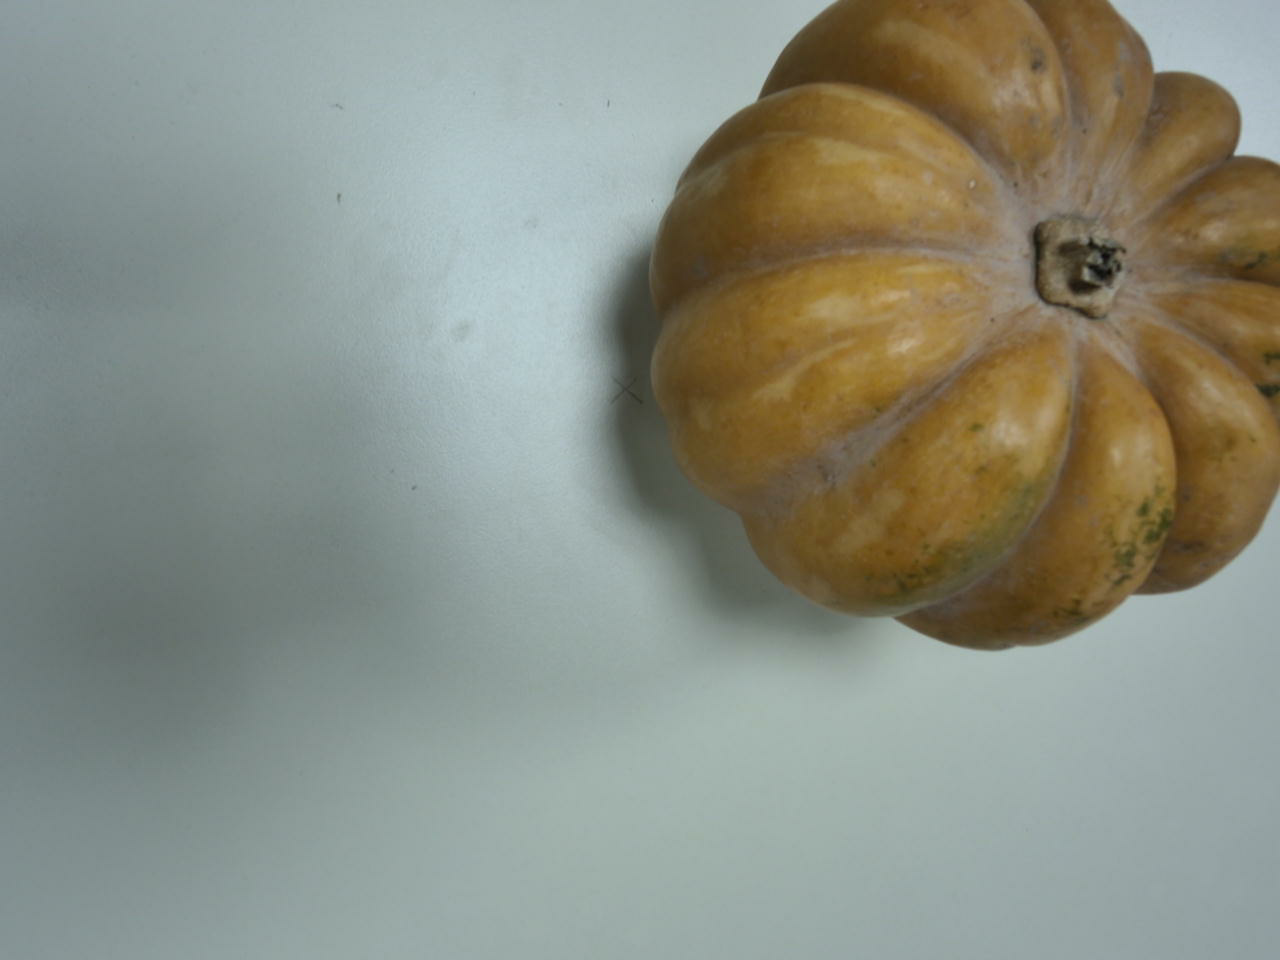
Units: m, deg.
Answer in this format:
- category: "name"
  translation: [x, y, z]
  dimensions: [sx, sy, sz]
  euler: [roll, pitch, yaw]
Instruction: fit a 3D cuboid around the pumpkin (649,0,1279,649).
- category: "pumpkin"
  translation: [0.113, -0.053, 0.359]
  dimensions: [0.230, 0.194, 0.230]
  euler: [0, 91, -12]
